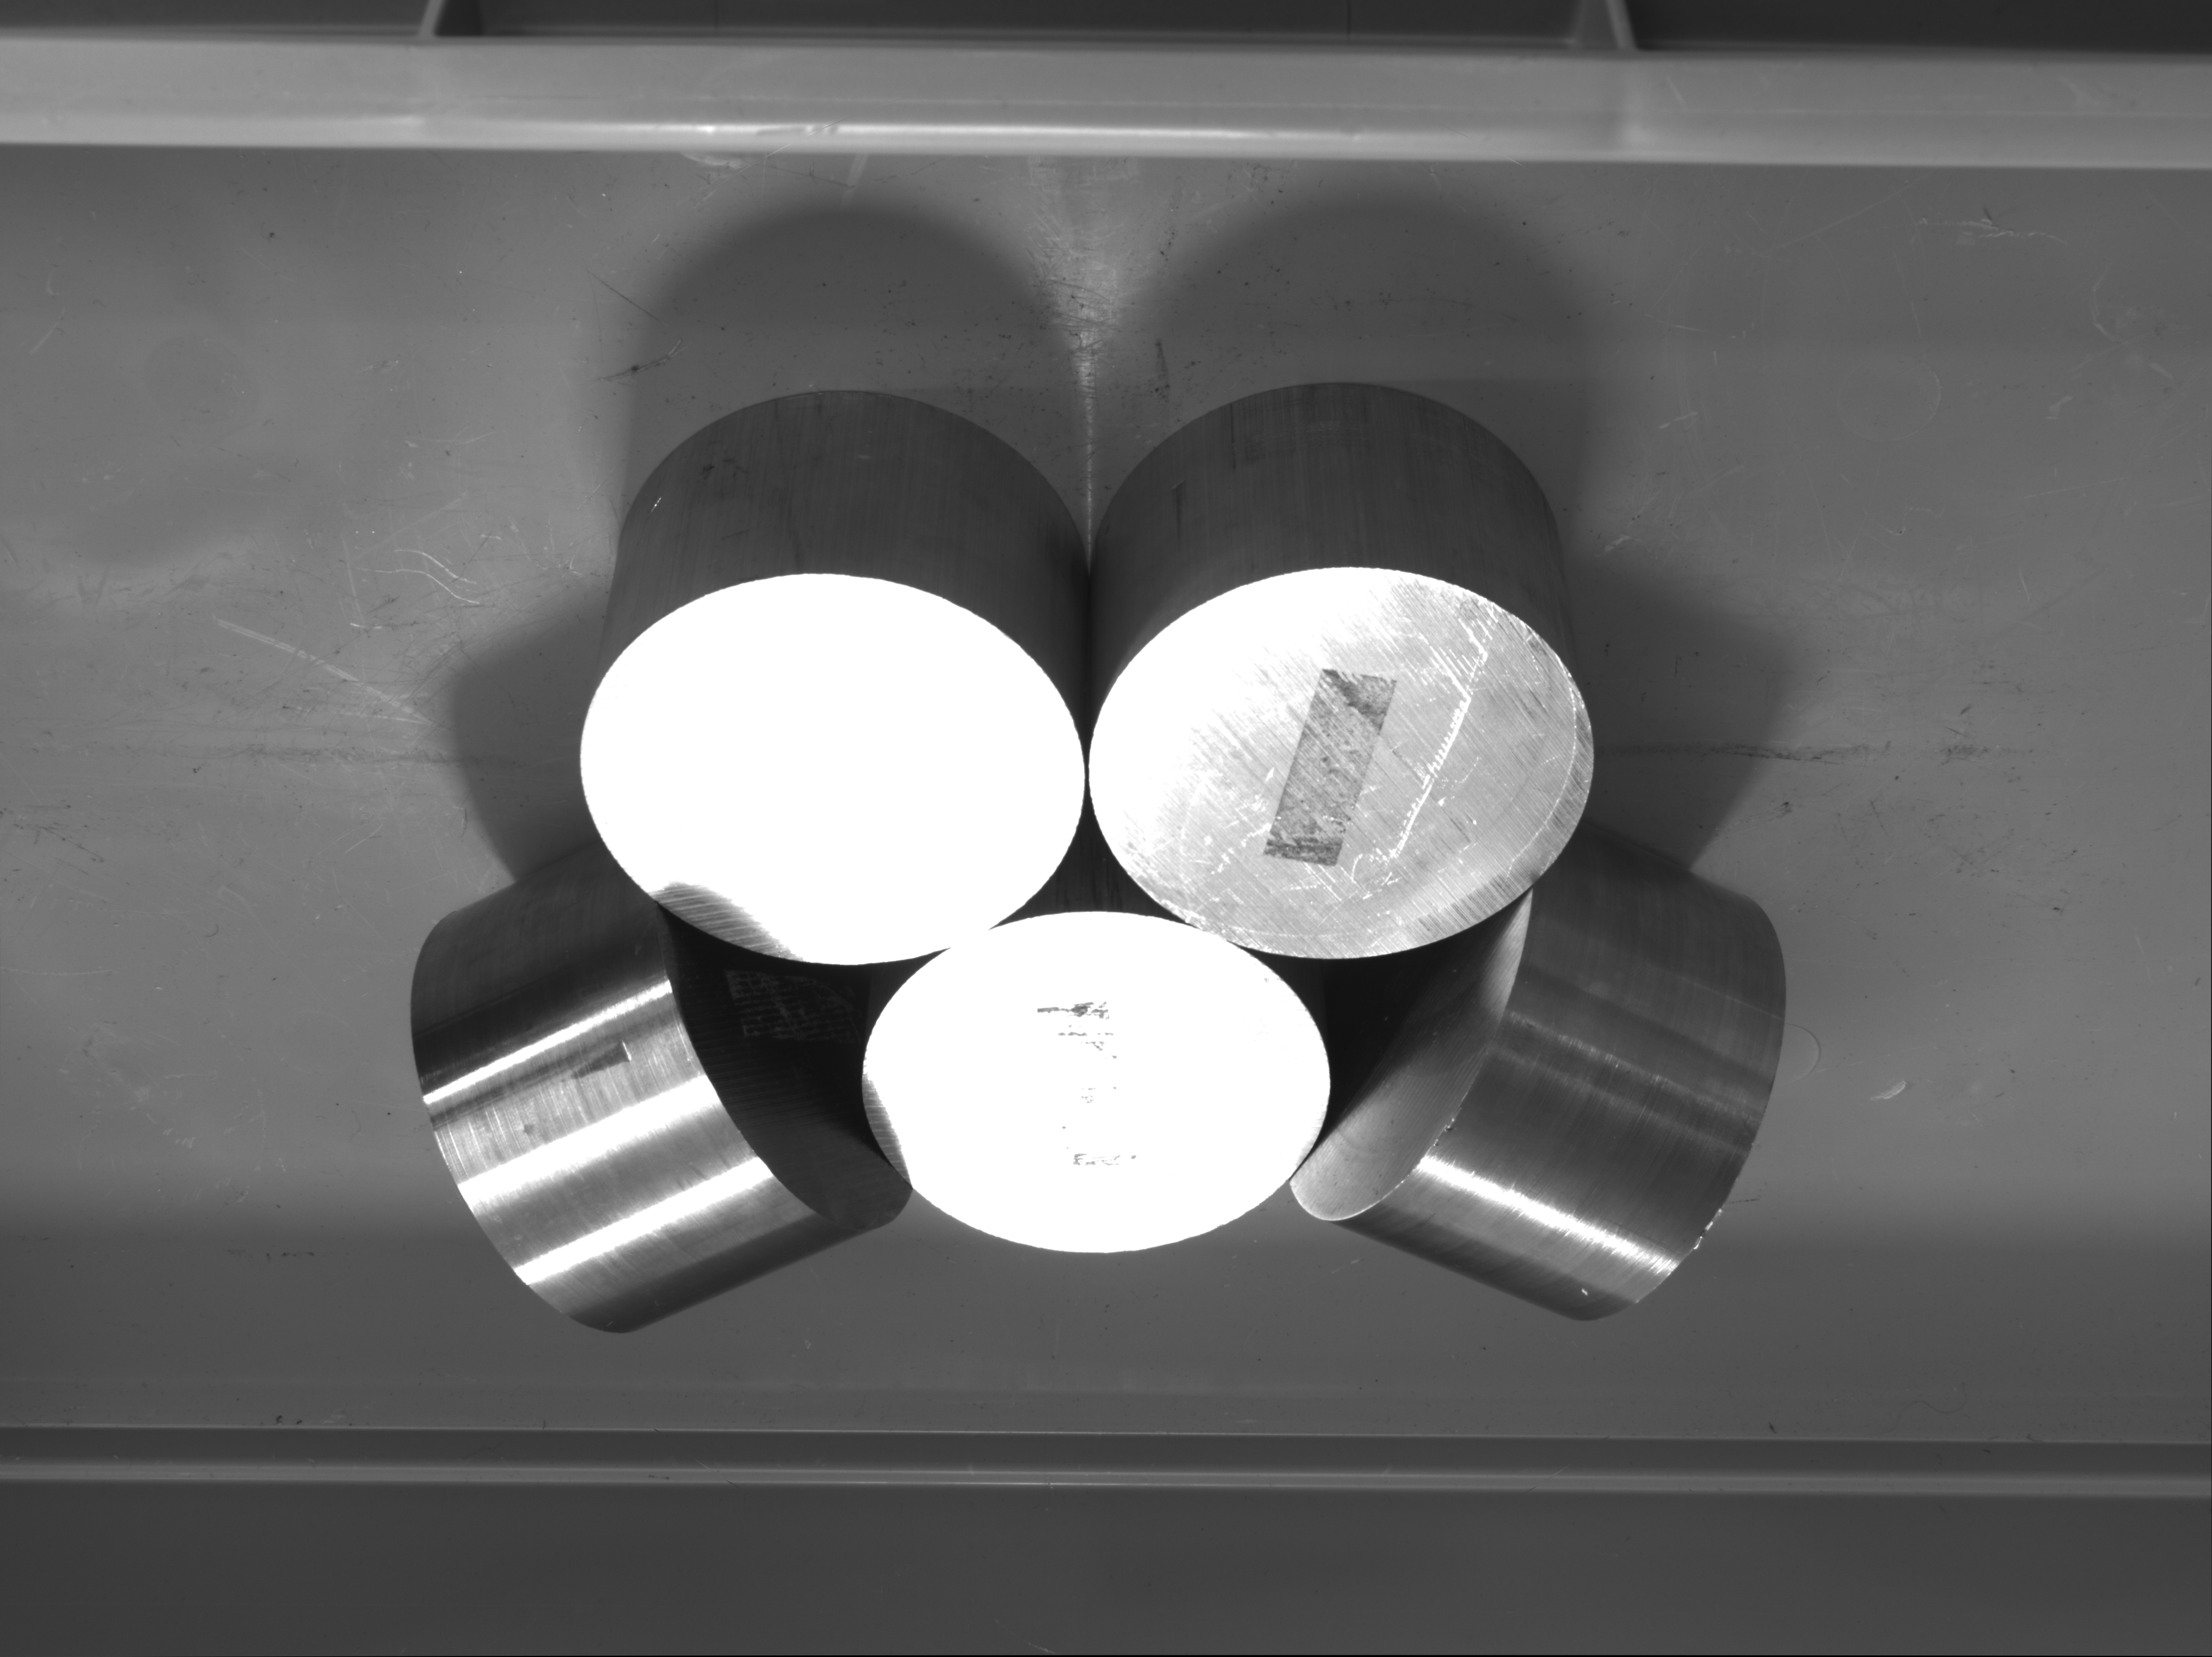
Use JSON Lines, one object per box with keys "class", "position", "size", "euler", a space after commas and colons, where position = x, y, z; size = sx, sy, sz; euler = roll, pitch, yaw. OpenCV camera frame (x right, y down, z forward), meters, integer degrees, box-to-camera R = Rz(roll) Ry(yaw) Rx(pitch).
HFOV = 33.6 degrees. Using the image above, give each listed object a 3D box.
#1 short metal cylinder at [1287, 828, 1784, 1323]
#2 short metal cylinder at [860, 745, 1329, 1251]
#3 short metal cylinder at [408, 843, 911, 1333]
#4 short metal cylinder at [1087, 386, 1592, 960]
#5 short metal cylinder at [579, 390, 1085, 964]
{"class": "short metal cylinder", "position": [0.073, 0.039, 0.634], "size": [0.050, 0.080, 0.080], "euler": [23, 126, -18]}
{"class": "short metal cylinder", "position": [-0.002, 0.028, 0.645], "size": [0.080, 0.050, 0.080], "euler": [0, 130, 0]}
{"class": "short metal cylinder", "position": [-0.076, 0.041, 0.636], "size": [0.050, 0.080, 0.080], "euler": [-24, 126, 19]}
{"class": "short metal cylinder", "position": [0.037, -0.025, 0.601], "size": [0.080, 0.050, 0.080], "euler": [0, 130, 0]}
{"class": "short metal cylinder", "position": [-0.043, -0.024, 0.601], "size": [0.080, 0.050, 0.080], "euler": [0, 130, 0]}
